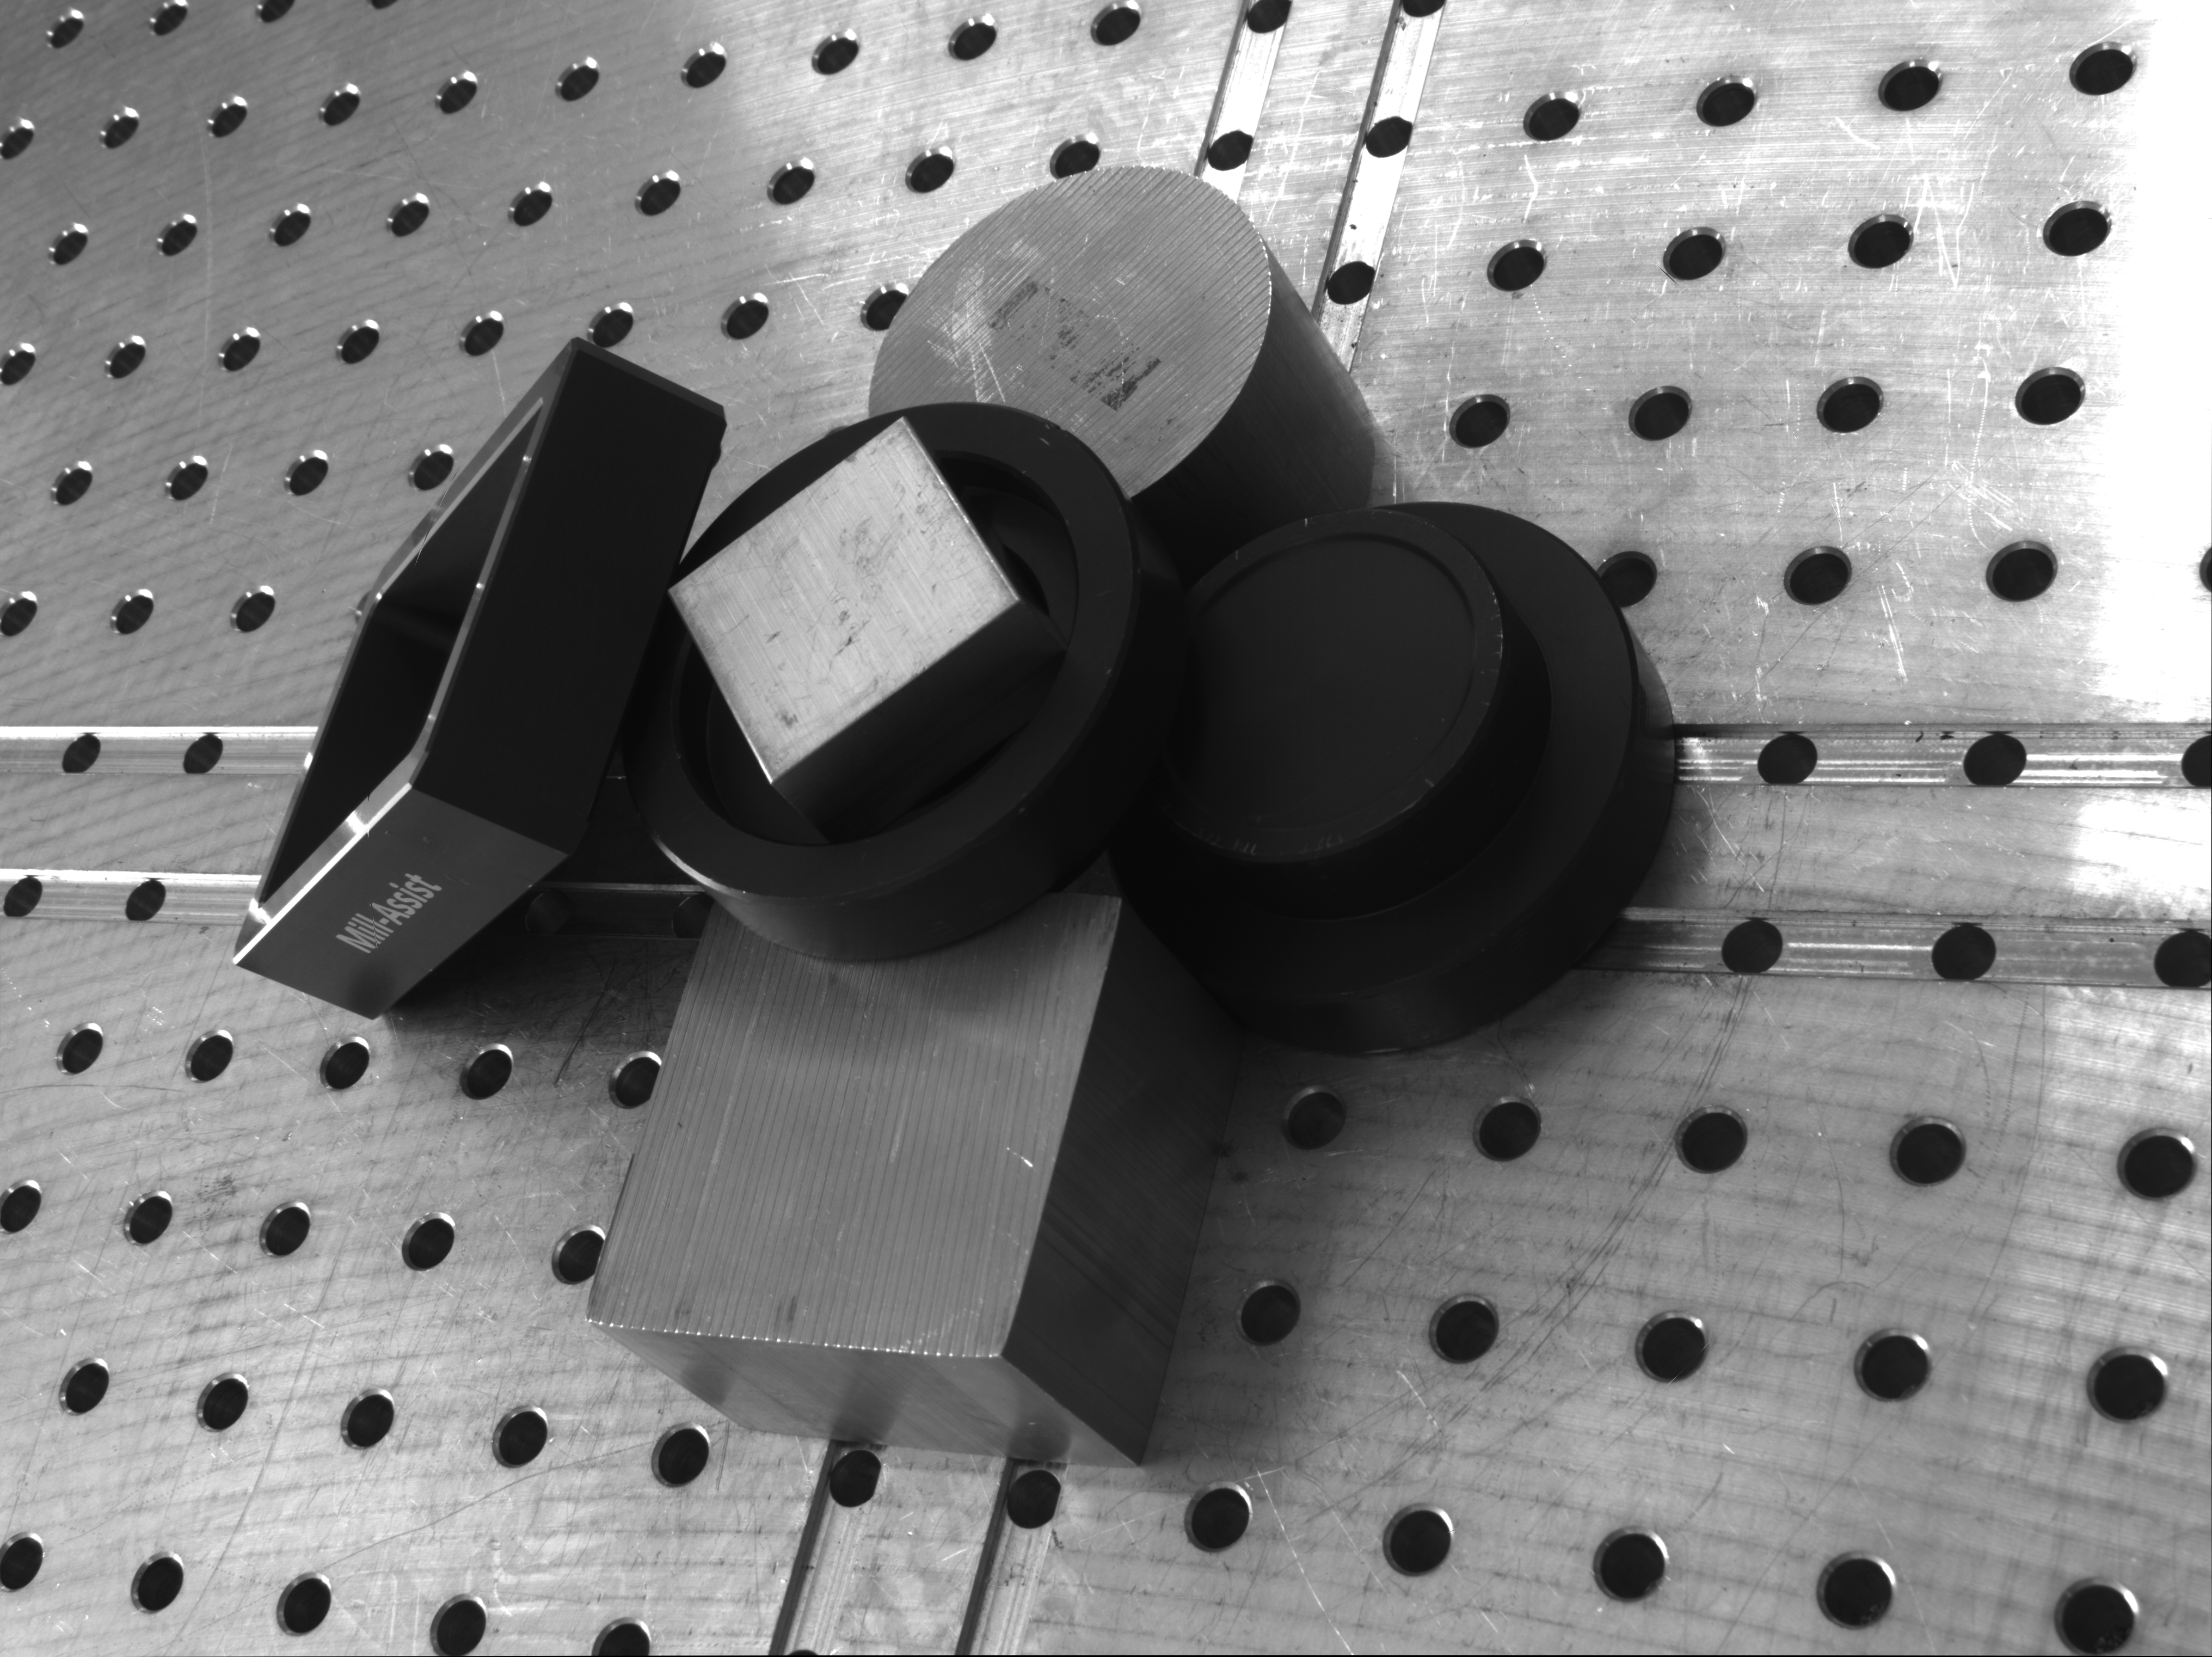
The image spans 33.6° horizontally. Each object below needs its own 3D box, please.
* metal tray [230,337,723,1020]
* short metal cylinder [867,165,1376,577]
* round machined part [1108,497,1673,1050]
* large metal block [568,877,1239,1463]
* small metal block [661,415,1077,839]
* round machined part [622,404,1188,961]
[{"bbox_3d":[-0.118,-0.024,0.677,0.130,0.030,0.090,-32,38,58],"label":"metal tray"},{"bbox_3d":[0.003,-0.074,0.675,0.080,0.050,0.080,-14,56,21],"label":"short metal cylinder"},{"bbox_3d":[0.043,-0.015,0.622,0.098,0.042,0.098,-13,56,21],"label":"round machined part"},{"bbox_3d":[-0.032,0.055,0.611,0.080,0.050,0.080,1,62,29],"label":"large metal block"},{"bbox_3d":[-0.039,-0.032,0.609,0.050,0.025,0.050,-36,51,4],"label":"small metal block"},{"bbox_3d":[-0.030,-0.021,0.628,0.098,0.042,0.098,-13,56,21],"label":"round machined part"}]
